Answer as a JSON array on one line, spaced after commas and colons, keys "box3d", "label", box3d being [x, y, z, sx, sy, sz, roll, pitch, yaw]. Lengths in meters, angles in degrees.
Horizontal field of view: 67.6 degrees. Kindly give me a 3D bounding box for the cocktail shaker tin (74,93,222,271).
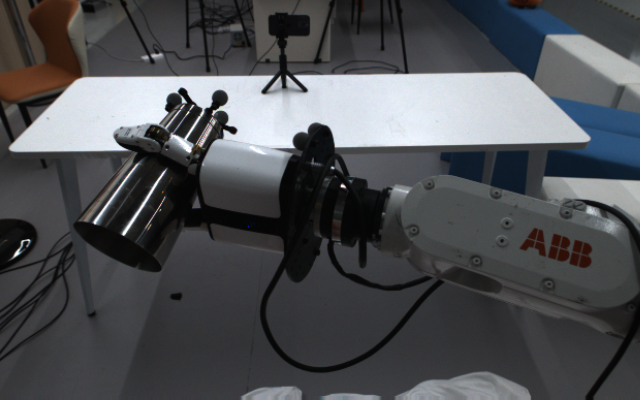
[{"box3d": [-0.169, -0.020, 0.512, 0.093, 0.093, 0.170, 13, 58, 16], "label": "cocktail shaker tin"}]
